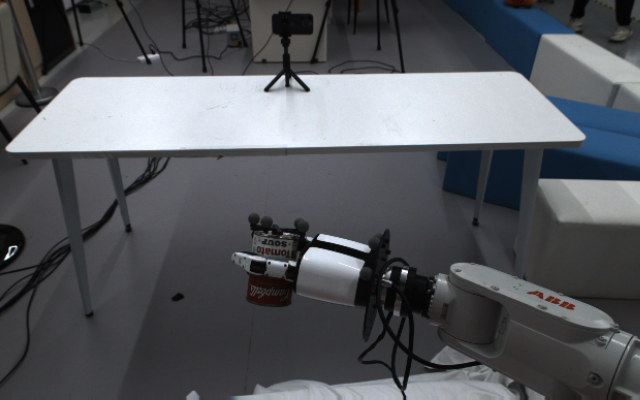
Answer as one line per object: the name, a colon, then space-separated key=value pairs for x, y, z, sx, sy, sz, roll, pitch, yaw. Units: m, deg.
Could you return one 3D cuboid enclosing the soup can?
soup can: x=-0.068 y=0.098 z=0.707 sx=0.067 sy=0.101 sz=0.067 roll=7 pitch=3 yaw=0
